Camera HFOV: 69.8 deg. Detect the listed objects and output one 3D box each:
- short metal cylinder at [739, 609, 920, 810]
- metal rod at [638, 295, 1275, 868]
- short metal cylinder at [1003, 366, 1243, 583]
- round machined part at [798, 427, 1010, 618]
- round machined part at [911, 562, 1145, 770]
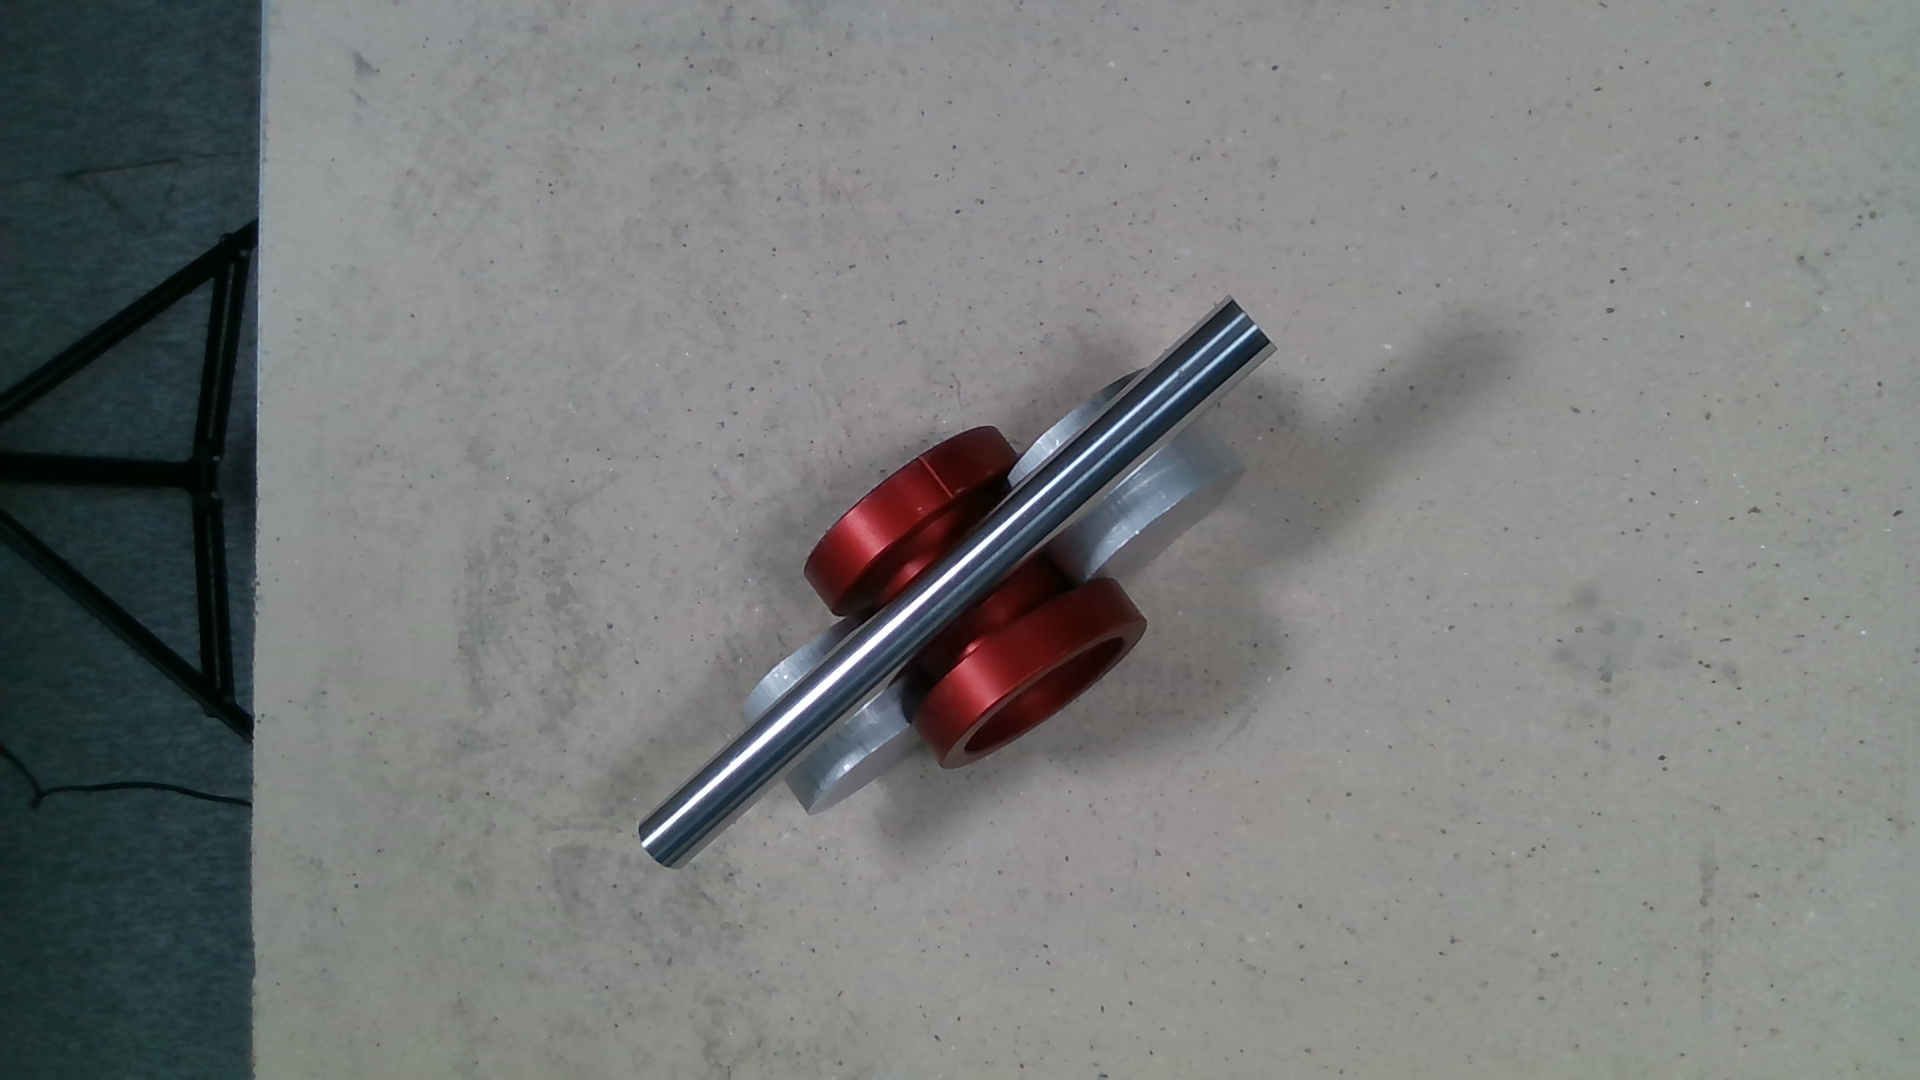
[{"bbox_3d":[-0.045,0.070,0.573,0.080,0.080,0.050,-41,77,16],"label":"short metal cylinder"},{"bbox_3d":[-0.010,0.023,0.505,0.300,0.025,0.025,-42,77,16],"label":"metal rod"},{"bbox_3d":[0.063,-0.023,0.533,0.080,0.080,0.050,-41,77,16],"label":"short metal cylinder"},{"bbox_3d":[-0.013,0.002,0.550,0.098,0.098,0.042,-41,81,16],"label":"round machined part"},{"bbox_3d":[0.021,0.045,0.540,0.098,0.098,0.042,-41,72,16],"label":"round machined part"}]
